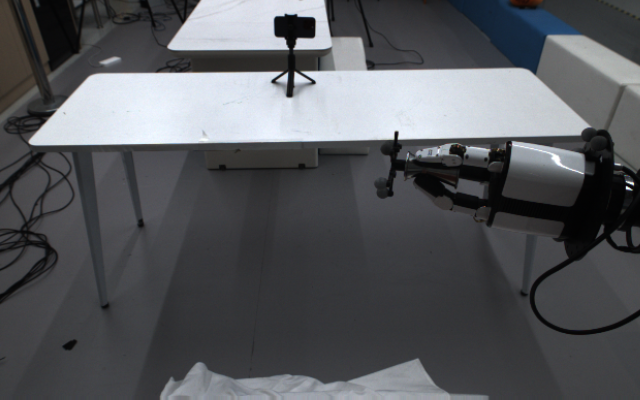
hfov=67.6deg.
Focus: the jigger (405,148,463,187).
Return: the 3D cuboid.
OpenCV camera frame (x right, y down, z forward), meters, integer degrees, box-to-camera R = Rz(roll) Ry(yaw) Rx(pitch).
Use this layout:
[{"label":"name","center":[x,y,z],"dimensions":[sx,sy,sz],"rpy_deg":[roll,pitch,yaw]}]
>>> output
[{"label":"jigger","center":[0.153,-0.045,0.633],"dimensions":[0.071,0.043,0.043],"rpy_deg":[8,35,12]}]
